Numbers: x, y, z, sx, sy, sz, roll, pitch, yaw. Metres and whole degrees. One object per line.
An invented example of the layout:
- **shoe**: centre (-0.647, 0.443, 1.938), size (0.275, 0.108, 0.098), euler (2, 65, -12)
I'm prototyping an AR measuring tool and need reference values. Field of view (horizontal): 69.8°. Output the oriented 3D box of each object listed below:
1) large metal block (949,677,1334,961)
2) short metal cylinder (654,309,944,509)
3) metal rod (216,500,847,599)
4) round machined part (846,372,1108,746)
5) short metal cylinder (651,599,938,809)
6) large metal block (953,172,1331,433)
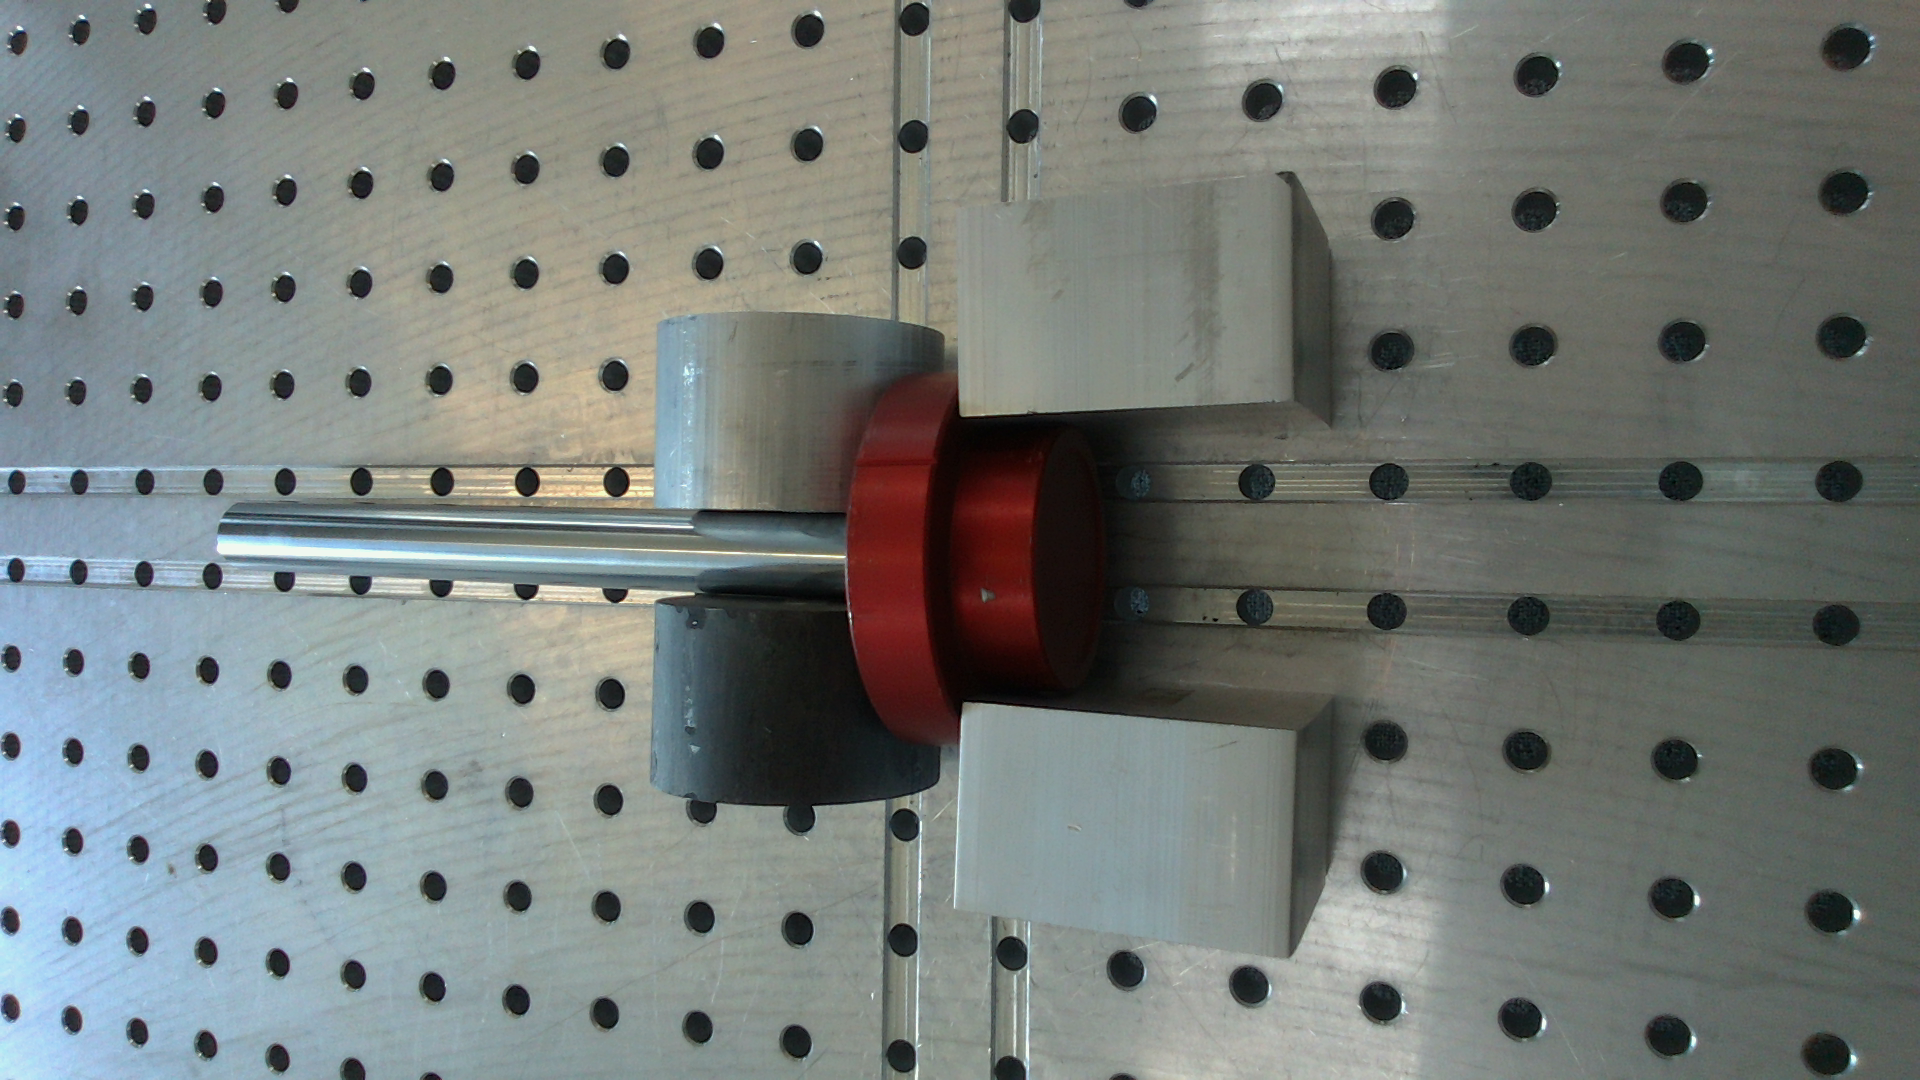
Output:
- **large metal block**: centre (0.050, 0.065, 0.352), size (0.080, 0.080, 0.050), euler (3, 91, 20)
- **short metal cylinder**: centre (-0.045, -0.033, 0.385), size (0.080, 0.080, 0.050), euler (1, 91, 20)
- **metal rod**: centre (-0.117, 0.002, 0.428), size (0.299, 0.025, 0.025), euler (2, 91, 24)
- **round machined part**: centre (0.010, 0.005, 0.356), size (0.042, 0.098, 0.098), euler (1, 90, 20)
- **short metal cylinder**: centre (-0.046, 0.042, 0.385), size (0.080, 0.080, 0.050), euler (1, 91, 20)
- **large metal block**: centre (0.050, -0.055, 0.352), size (0.080, 0.080, 0.050), euler (0, 90, 20)
